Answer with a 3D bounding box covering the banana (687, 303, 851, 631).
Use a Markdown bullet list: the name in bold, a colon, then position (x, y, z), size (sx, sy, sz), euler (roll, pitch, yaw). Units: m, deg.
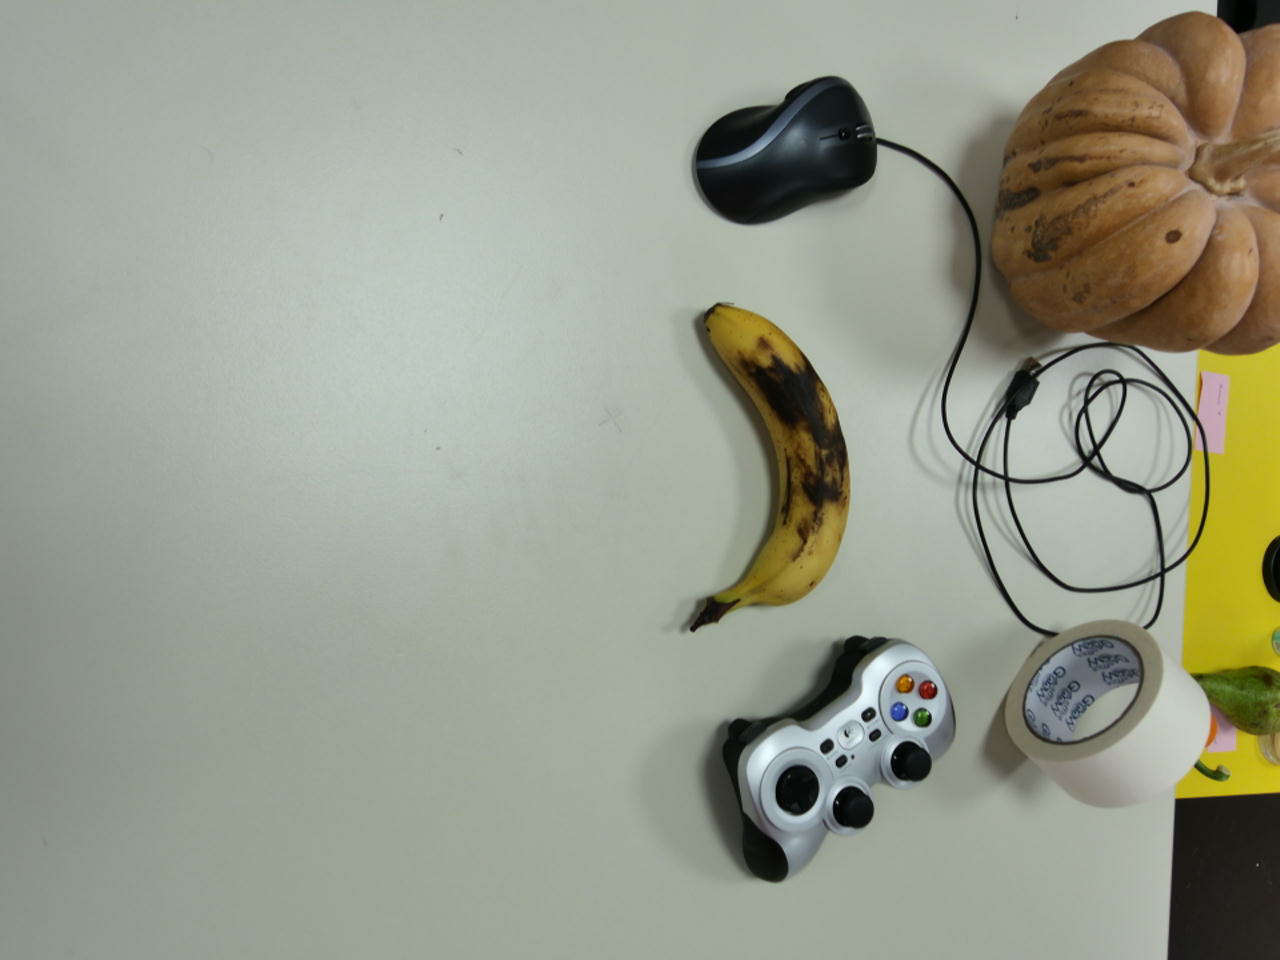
- **banana**: position (0.078, -0.007, 0.579), size (0.094, 0.039, 0.187), euler (4, 89, -22)
